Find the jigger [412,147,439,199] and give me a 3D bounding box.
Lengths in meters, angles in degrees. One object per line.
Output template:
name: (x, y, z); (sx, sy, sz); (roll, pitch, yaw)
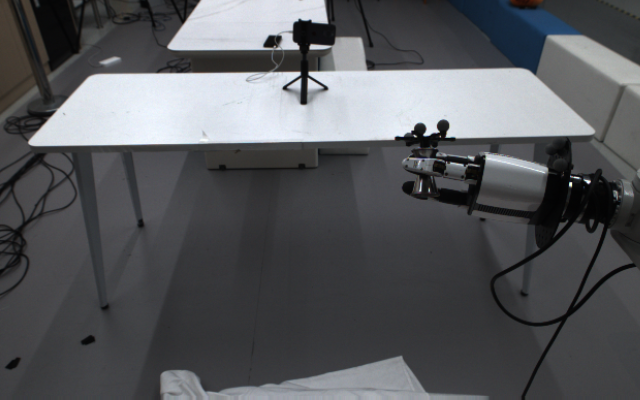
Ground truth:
jigger: (0.154, -0.042, 0.719); (0.043, 0.071, 0.043); (2, -6, 0)
